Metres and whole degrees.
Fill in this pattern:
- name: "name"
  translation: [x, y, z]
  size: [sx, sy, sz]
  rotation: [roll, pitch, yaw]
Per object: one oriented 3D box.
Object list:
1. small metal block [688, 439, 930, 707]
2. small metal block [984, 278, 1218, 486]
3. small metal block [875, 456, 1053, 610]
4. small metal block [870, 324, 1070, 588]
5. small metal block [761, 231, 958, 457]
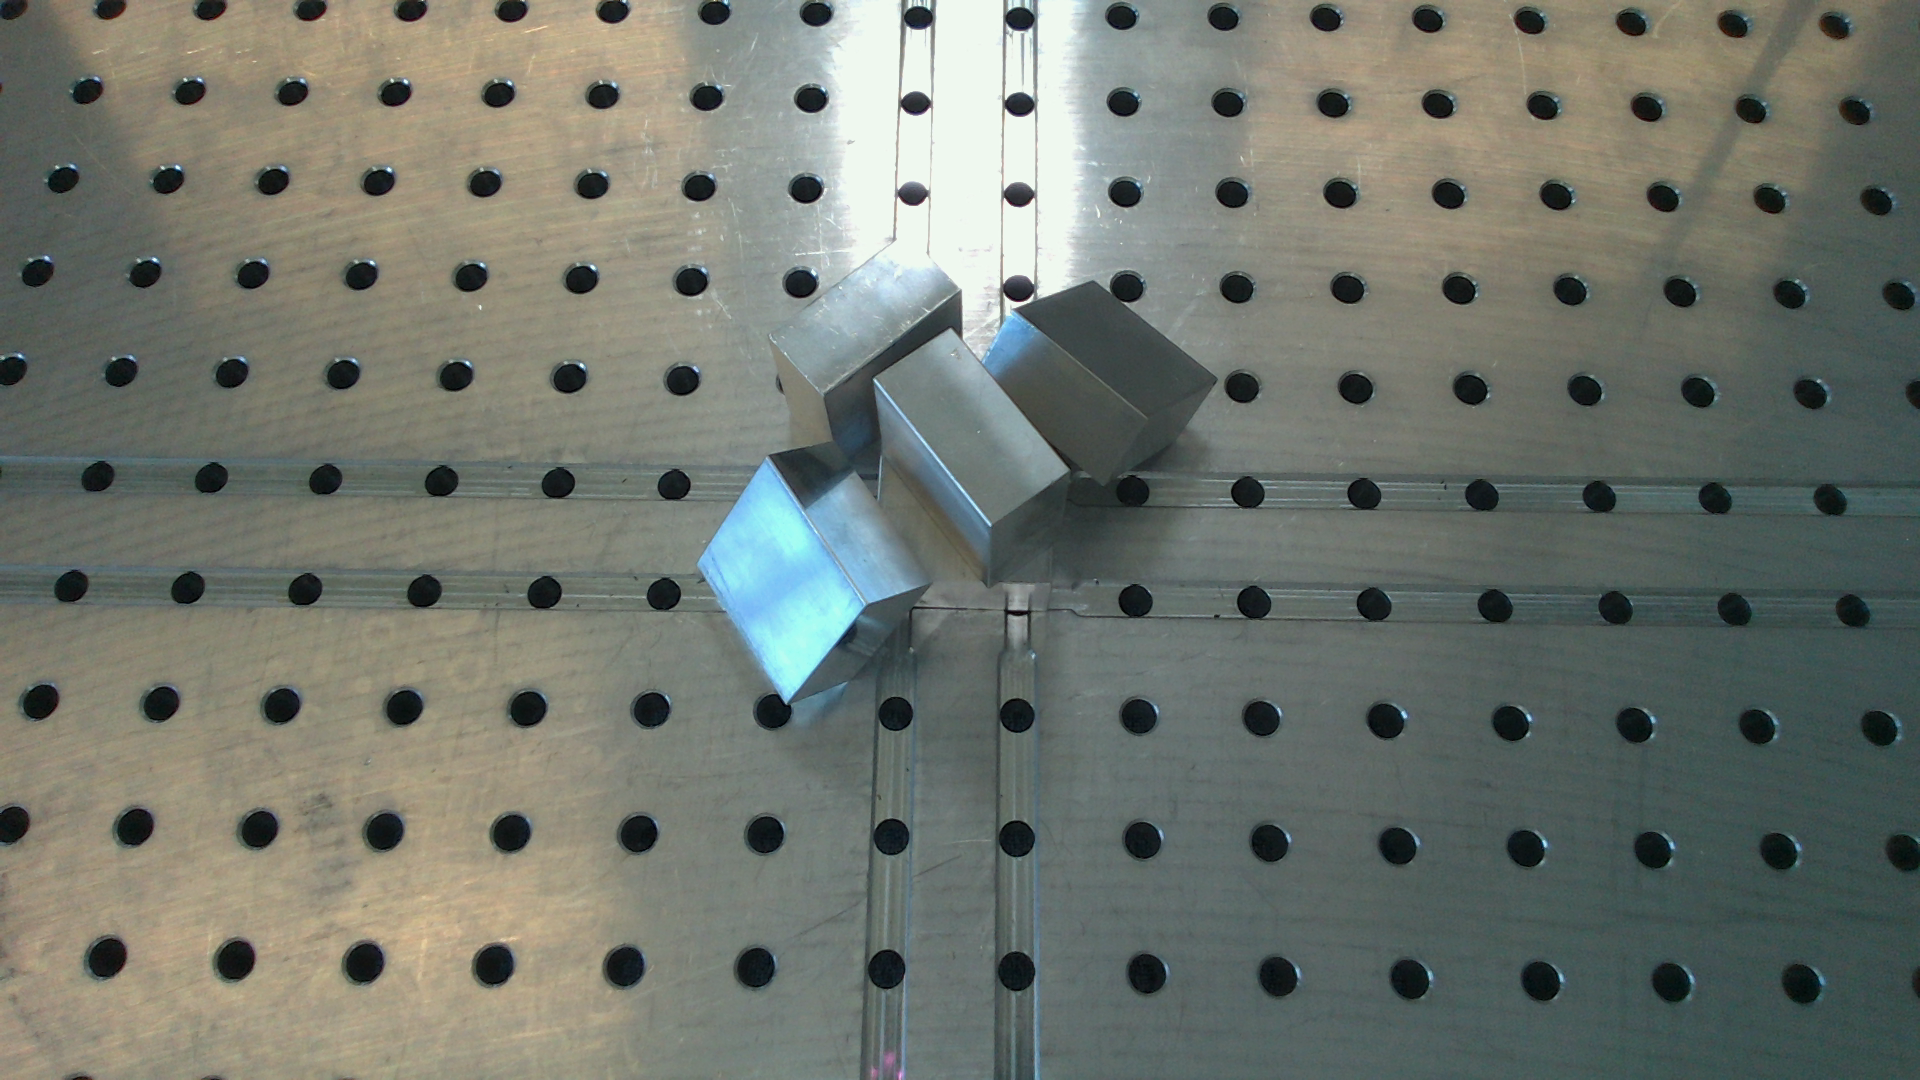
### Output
- name: "small metal block"
  translation: [-0.043, 0.009, 0.377]
  size: [0.025, 0.050, 0.050]
  rotation: [-17, 66, -46]
- name: "small metal block"
  translation: [0.039, -0.048, 0.400]
  size: [0.050, 0.025, 0.050]
  rotation: [41, 35, 14]
- name: "small metal block"
  translation: [0.001, -0.008, 0.400]
  size: [0.050, 0.025, 0.050]
  rotation: [1, 70, -1]
- name: "small metal block"
  translation: [0.002, -0.021, 0.364]
  size: [0.025, 0.050, 0.050]
  rotation: [-34, 74, -12]
- name: "small metal block"
  translation: [-0.028, -0.055, 0.404]
  size: [0.050, 0.050, 0.025]
  rotation: [-39, 74, -13]
